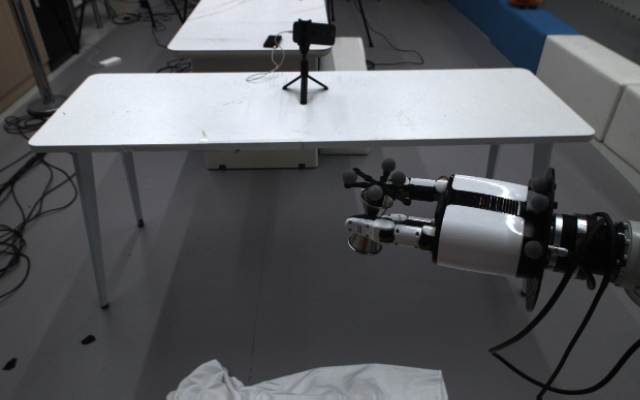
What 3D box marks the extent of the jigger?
[{"bbox_3d":[0.061,0.027,0.591,0.043,0.071,0.043,9,30,-5],"label":"jigger"}]
